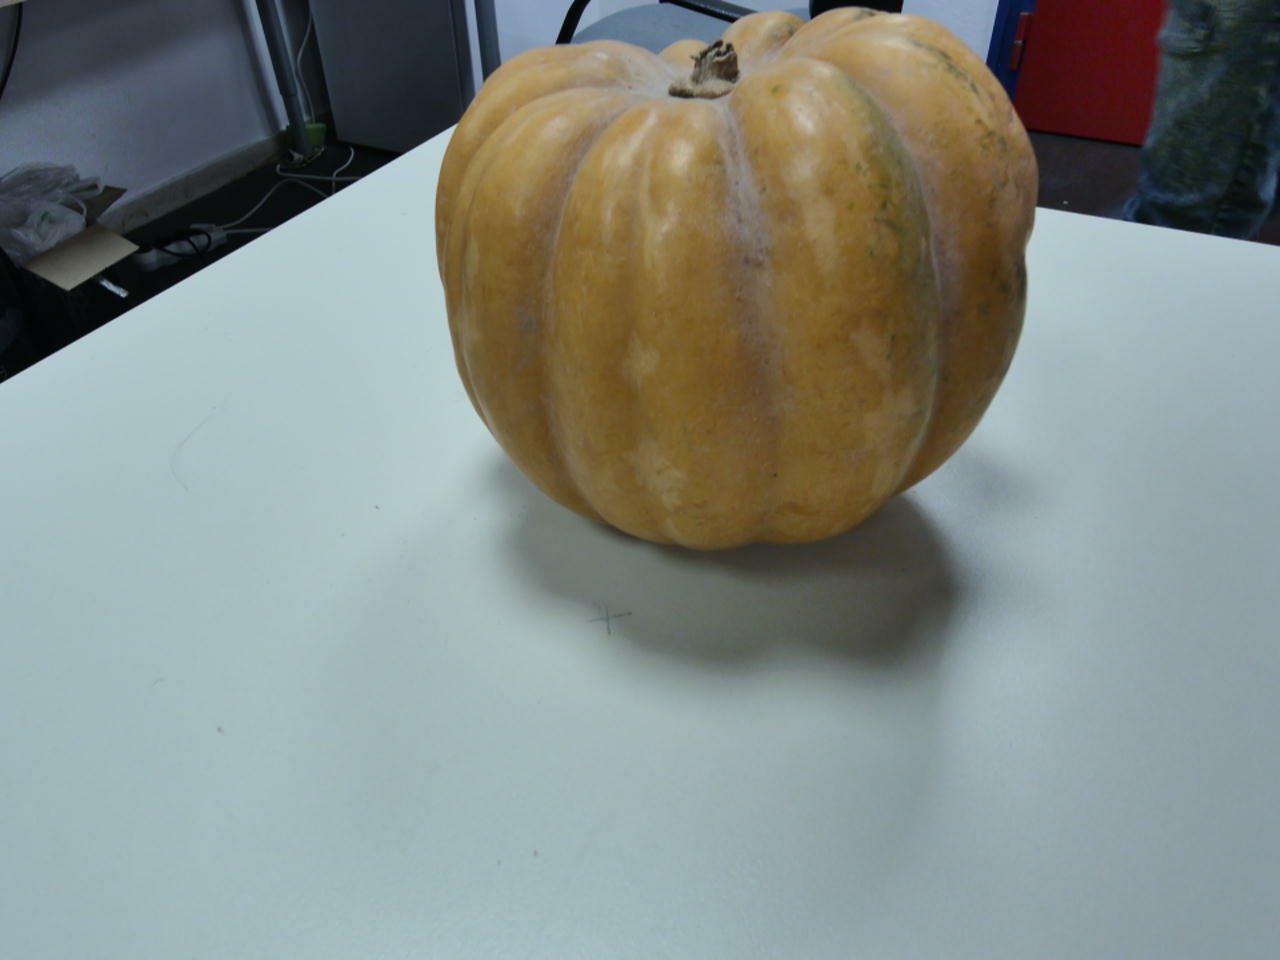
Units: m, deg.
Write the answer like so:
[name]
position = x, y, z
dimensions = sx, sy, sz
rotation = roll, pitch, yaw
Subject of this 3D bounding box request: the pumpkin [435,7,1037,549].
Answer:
[pumpkin]
position = 0.036, -0.078, 0.392
dimensions = 0.230, 0.194, 0.230
rotation = 0, 37, 0
